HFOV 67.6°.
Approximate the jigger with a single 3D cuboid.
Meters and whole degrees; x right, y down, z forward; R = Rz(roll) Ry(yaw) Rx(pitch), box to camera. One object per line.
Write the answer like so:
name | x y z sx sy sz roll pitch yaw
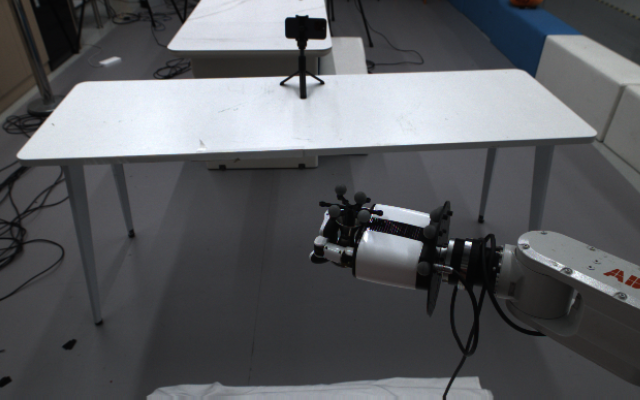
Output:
jigger | 0.040 0.057 0.695 0.043 0.071 0.043 6 26 -3
